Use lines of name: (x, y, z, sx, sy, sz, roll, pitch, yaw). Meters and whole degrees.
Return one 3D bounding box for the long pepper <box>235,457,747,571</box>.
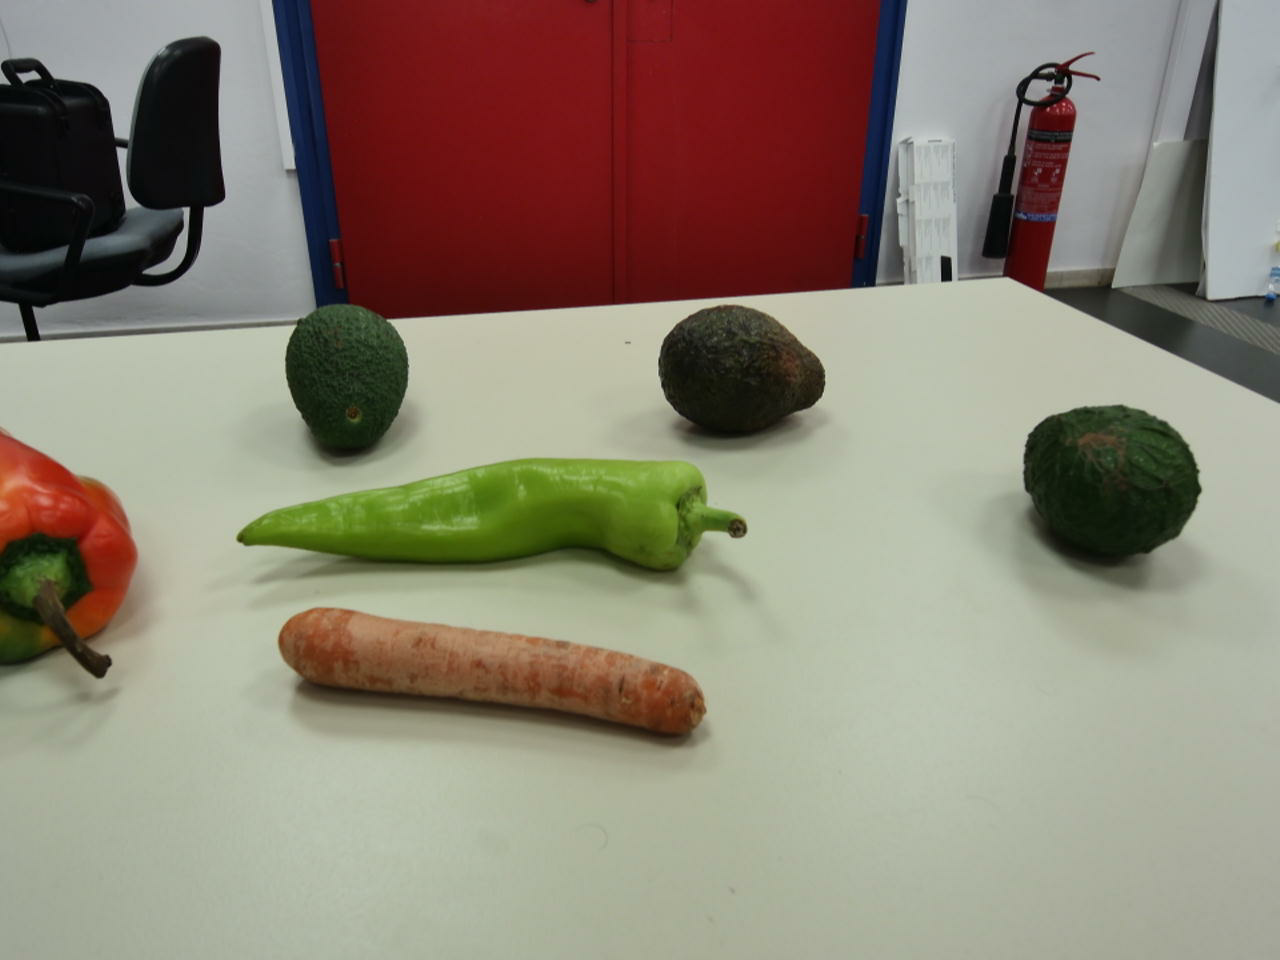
long pepper: (-0.058, 0.013, 0.422, 0.205, 0.045, 0.065, 1, 24, 3)
